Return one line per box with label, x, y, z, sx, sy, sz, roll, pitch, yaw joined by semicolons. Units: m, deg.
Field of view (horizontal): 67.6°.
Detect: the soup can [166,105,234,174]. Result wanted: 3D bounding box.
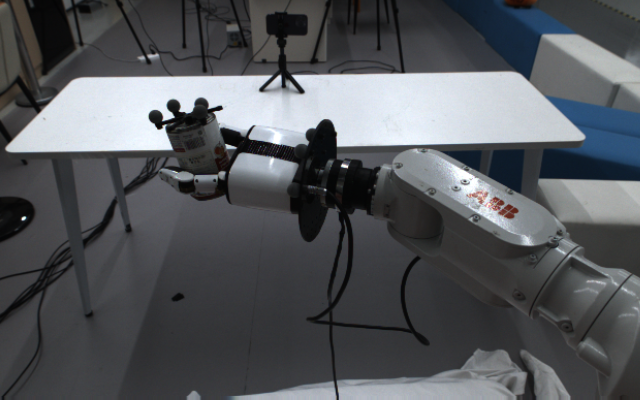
soup can;-0.155;-0.058;0.644;0.067;0.101;0.067;-11;27;6
